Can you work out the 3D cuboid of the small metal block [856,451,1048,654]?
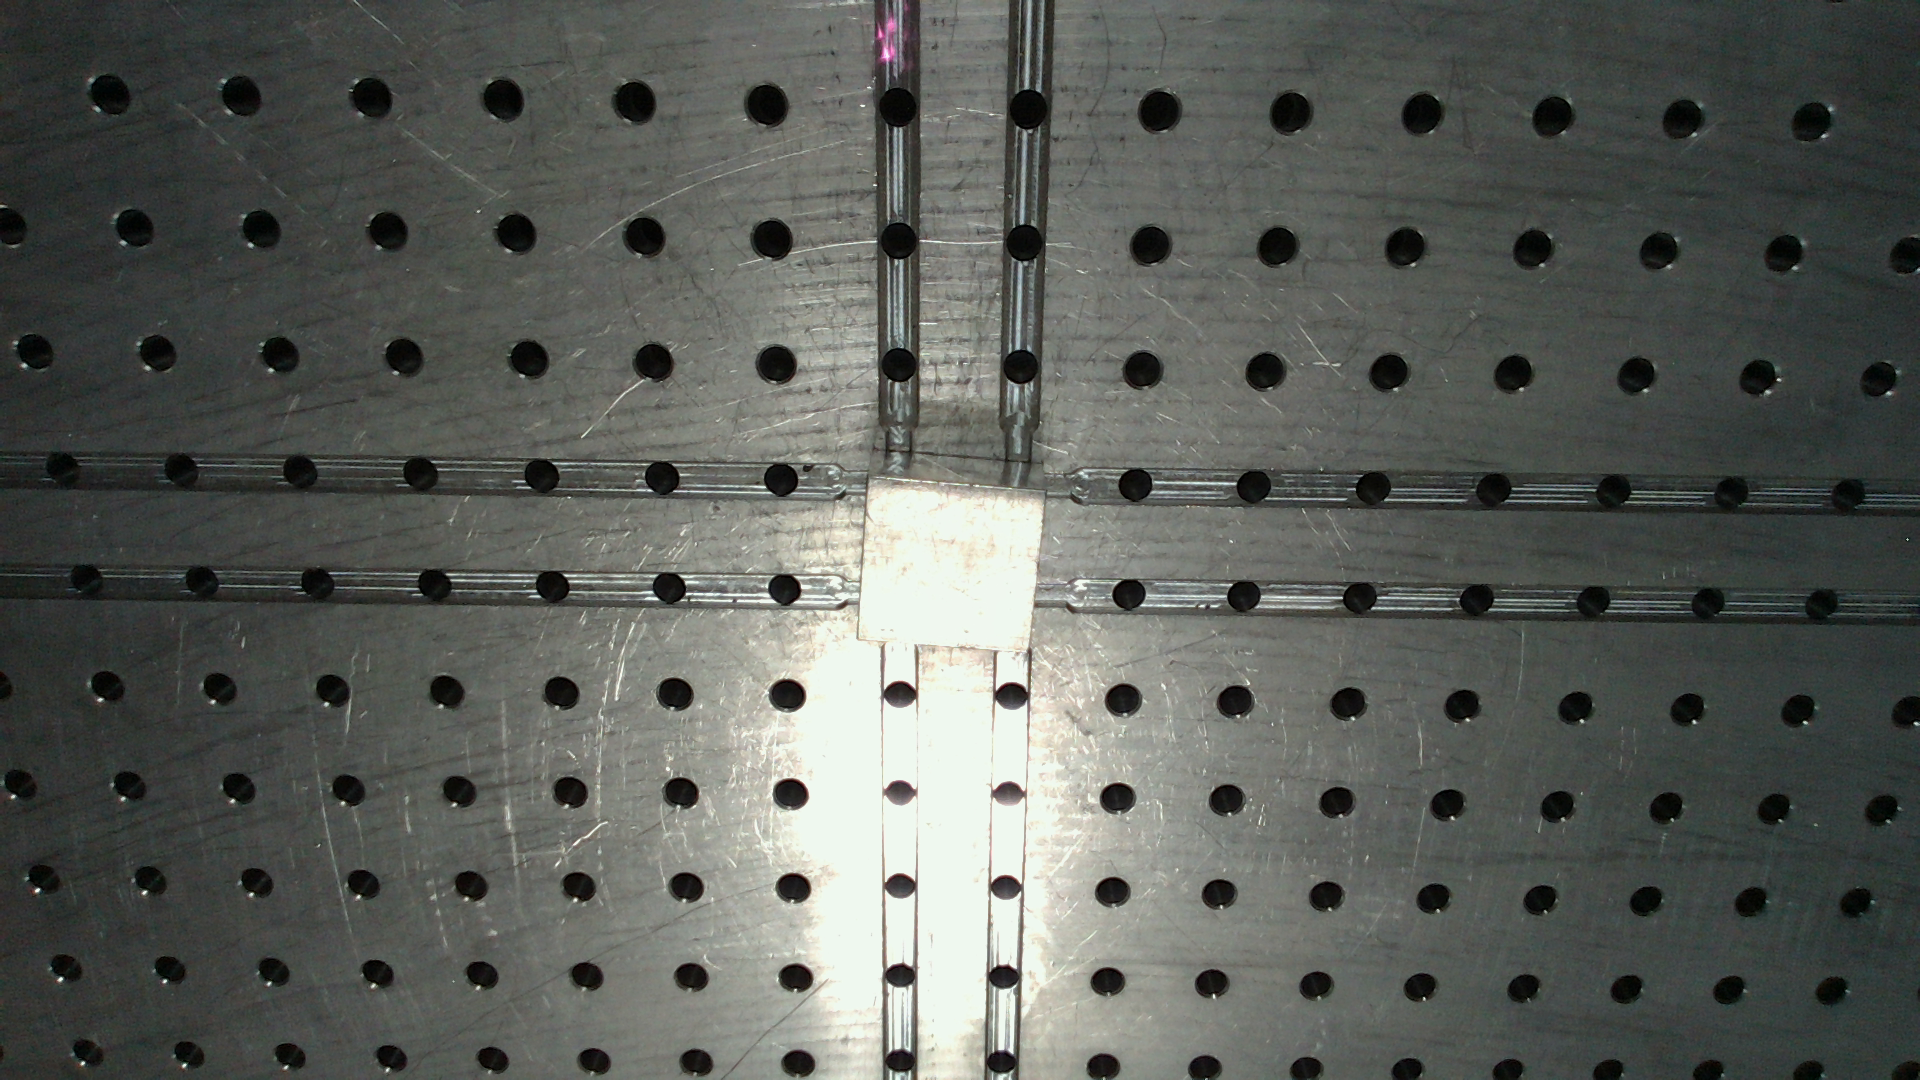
[{"bbox_3d":[-0.003,0.003,0.397,0.050,0.025,0.050,5,110,-2],"label":"small metal block"}]
